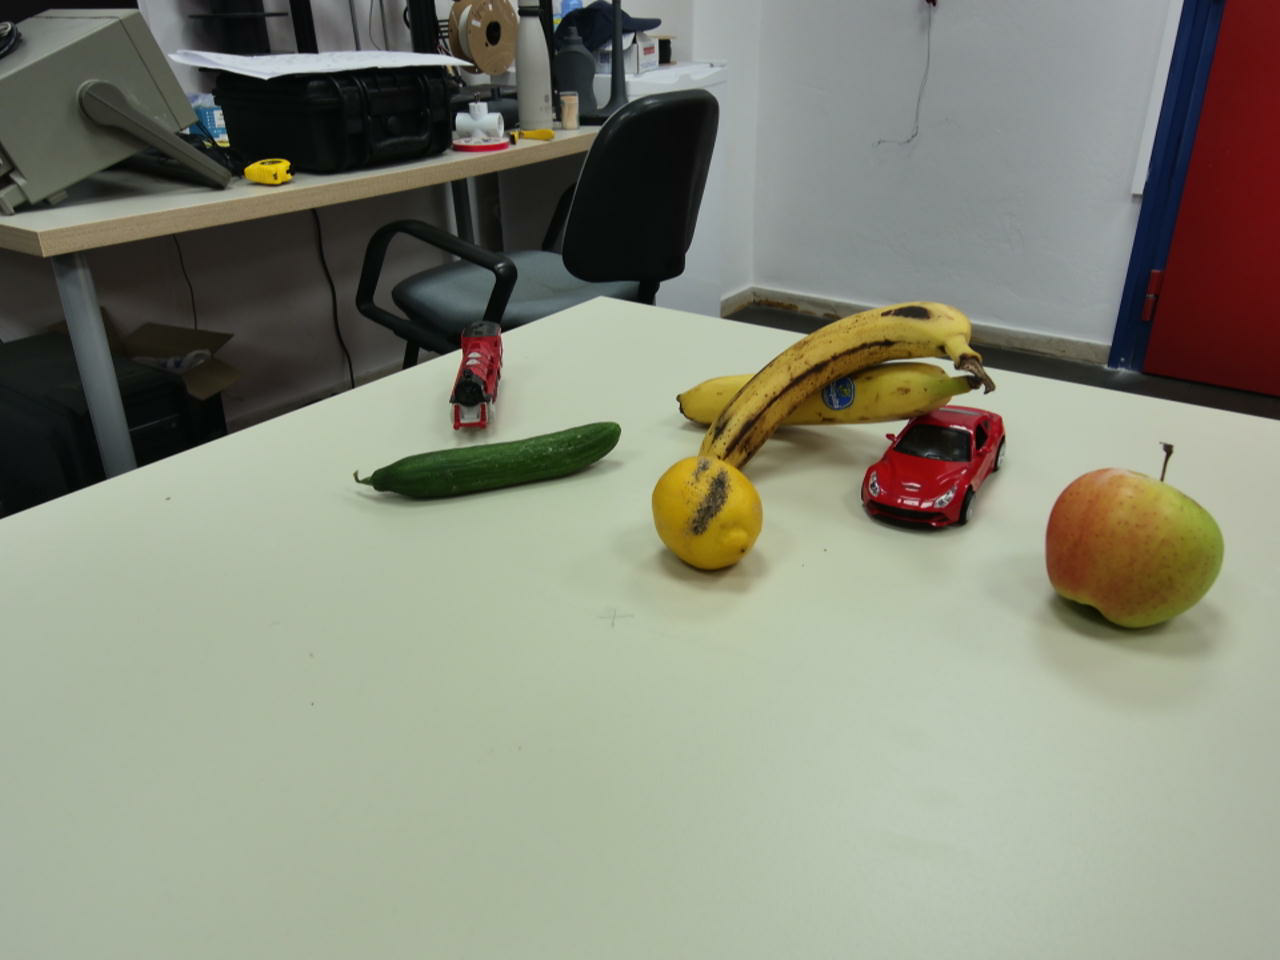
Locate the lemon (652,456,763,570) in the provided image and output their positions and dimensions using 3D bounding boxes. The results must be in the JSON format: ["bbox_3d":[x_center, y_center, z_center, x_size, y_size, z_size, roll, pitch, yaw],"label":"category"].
[{"bbox_3d":[0.036,0.017,0.528,0.061,0.056,0.058,14,27,26],"label":"lemon"}]
